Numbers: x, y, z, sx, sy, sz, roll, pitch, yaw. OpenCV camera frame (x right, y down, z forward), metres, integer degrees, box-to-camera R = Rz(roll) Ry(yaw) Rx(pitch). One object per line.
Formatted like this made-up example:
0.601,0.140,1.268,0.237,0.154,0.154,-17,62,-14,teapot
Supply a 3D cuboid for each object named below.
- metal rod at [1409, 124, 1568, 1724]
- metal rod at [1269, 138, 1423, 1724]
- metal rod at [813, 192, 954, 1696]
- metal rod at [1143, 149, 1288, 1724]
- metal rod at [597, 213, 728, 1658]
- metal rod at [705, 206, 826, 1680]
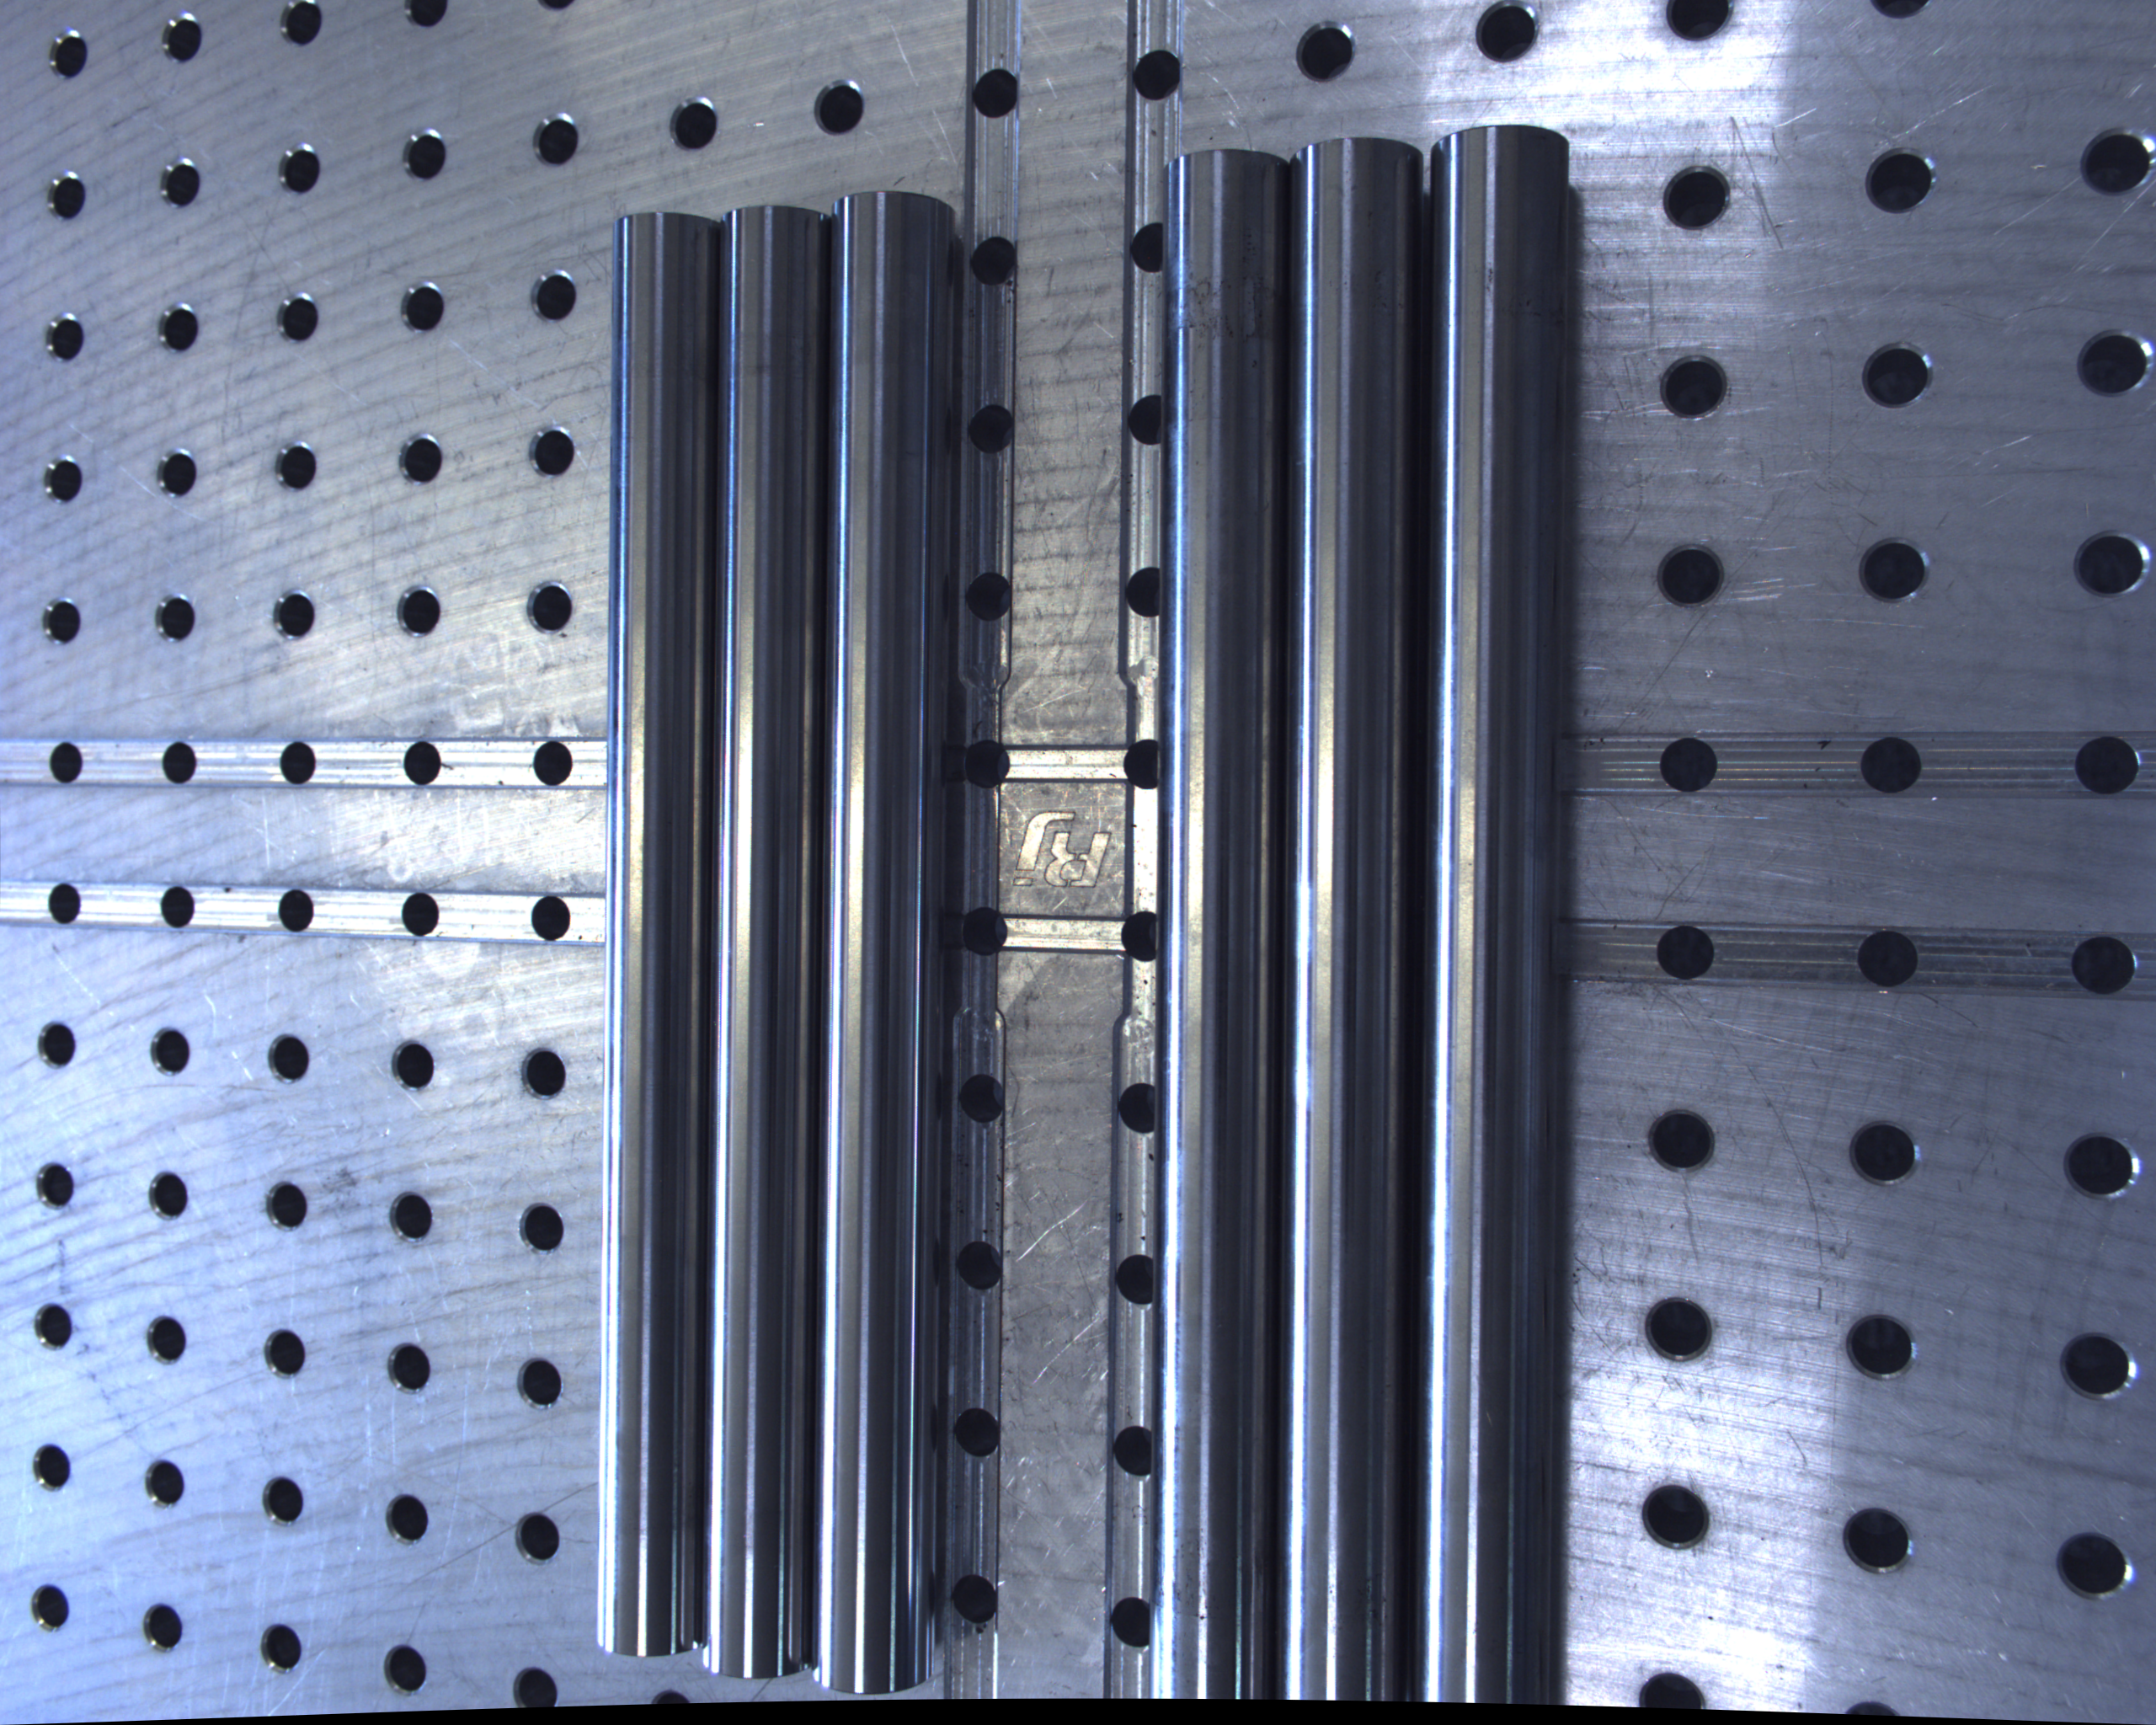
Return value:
0.076,0.017,0.385,0.025,0.025,0.298,1,90,20,metal rod
0.050,0.017,0.394,0.025,0.025,0.298,1,90,20,metal rod
-0.040,0.016,0.426,0.025,0.025,0.298,1,90,20,metal rod
0.027,0.016,0.403,0.025,0.025,0.298,1,90,20,metal rod
-0.088,0.015,0.444,0.025,0.025,0.298,1,90,20,metal rod
-0.063,0.016,0.435,0.025,0.025,0.298,1,90,20,metal rod
